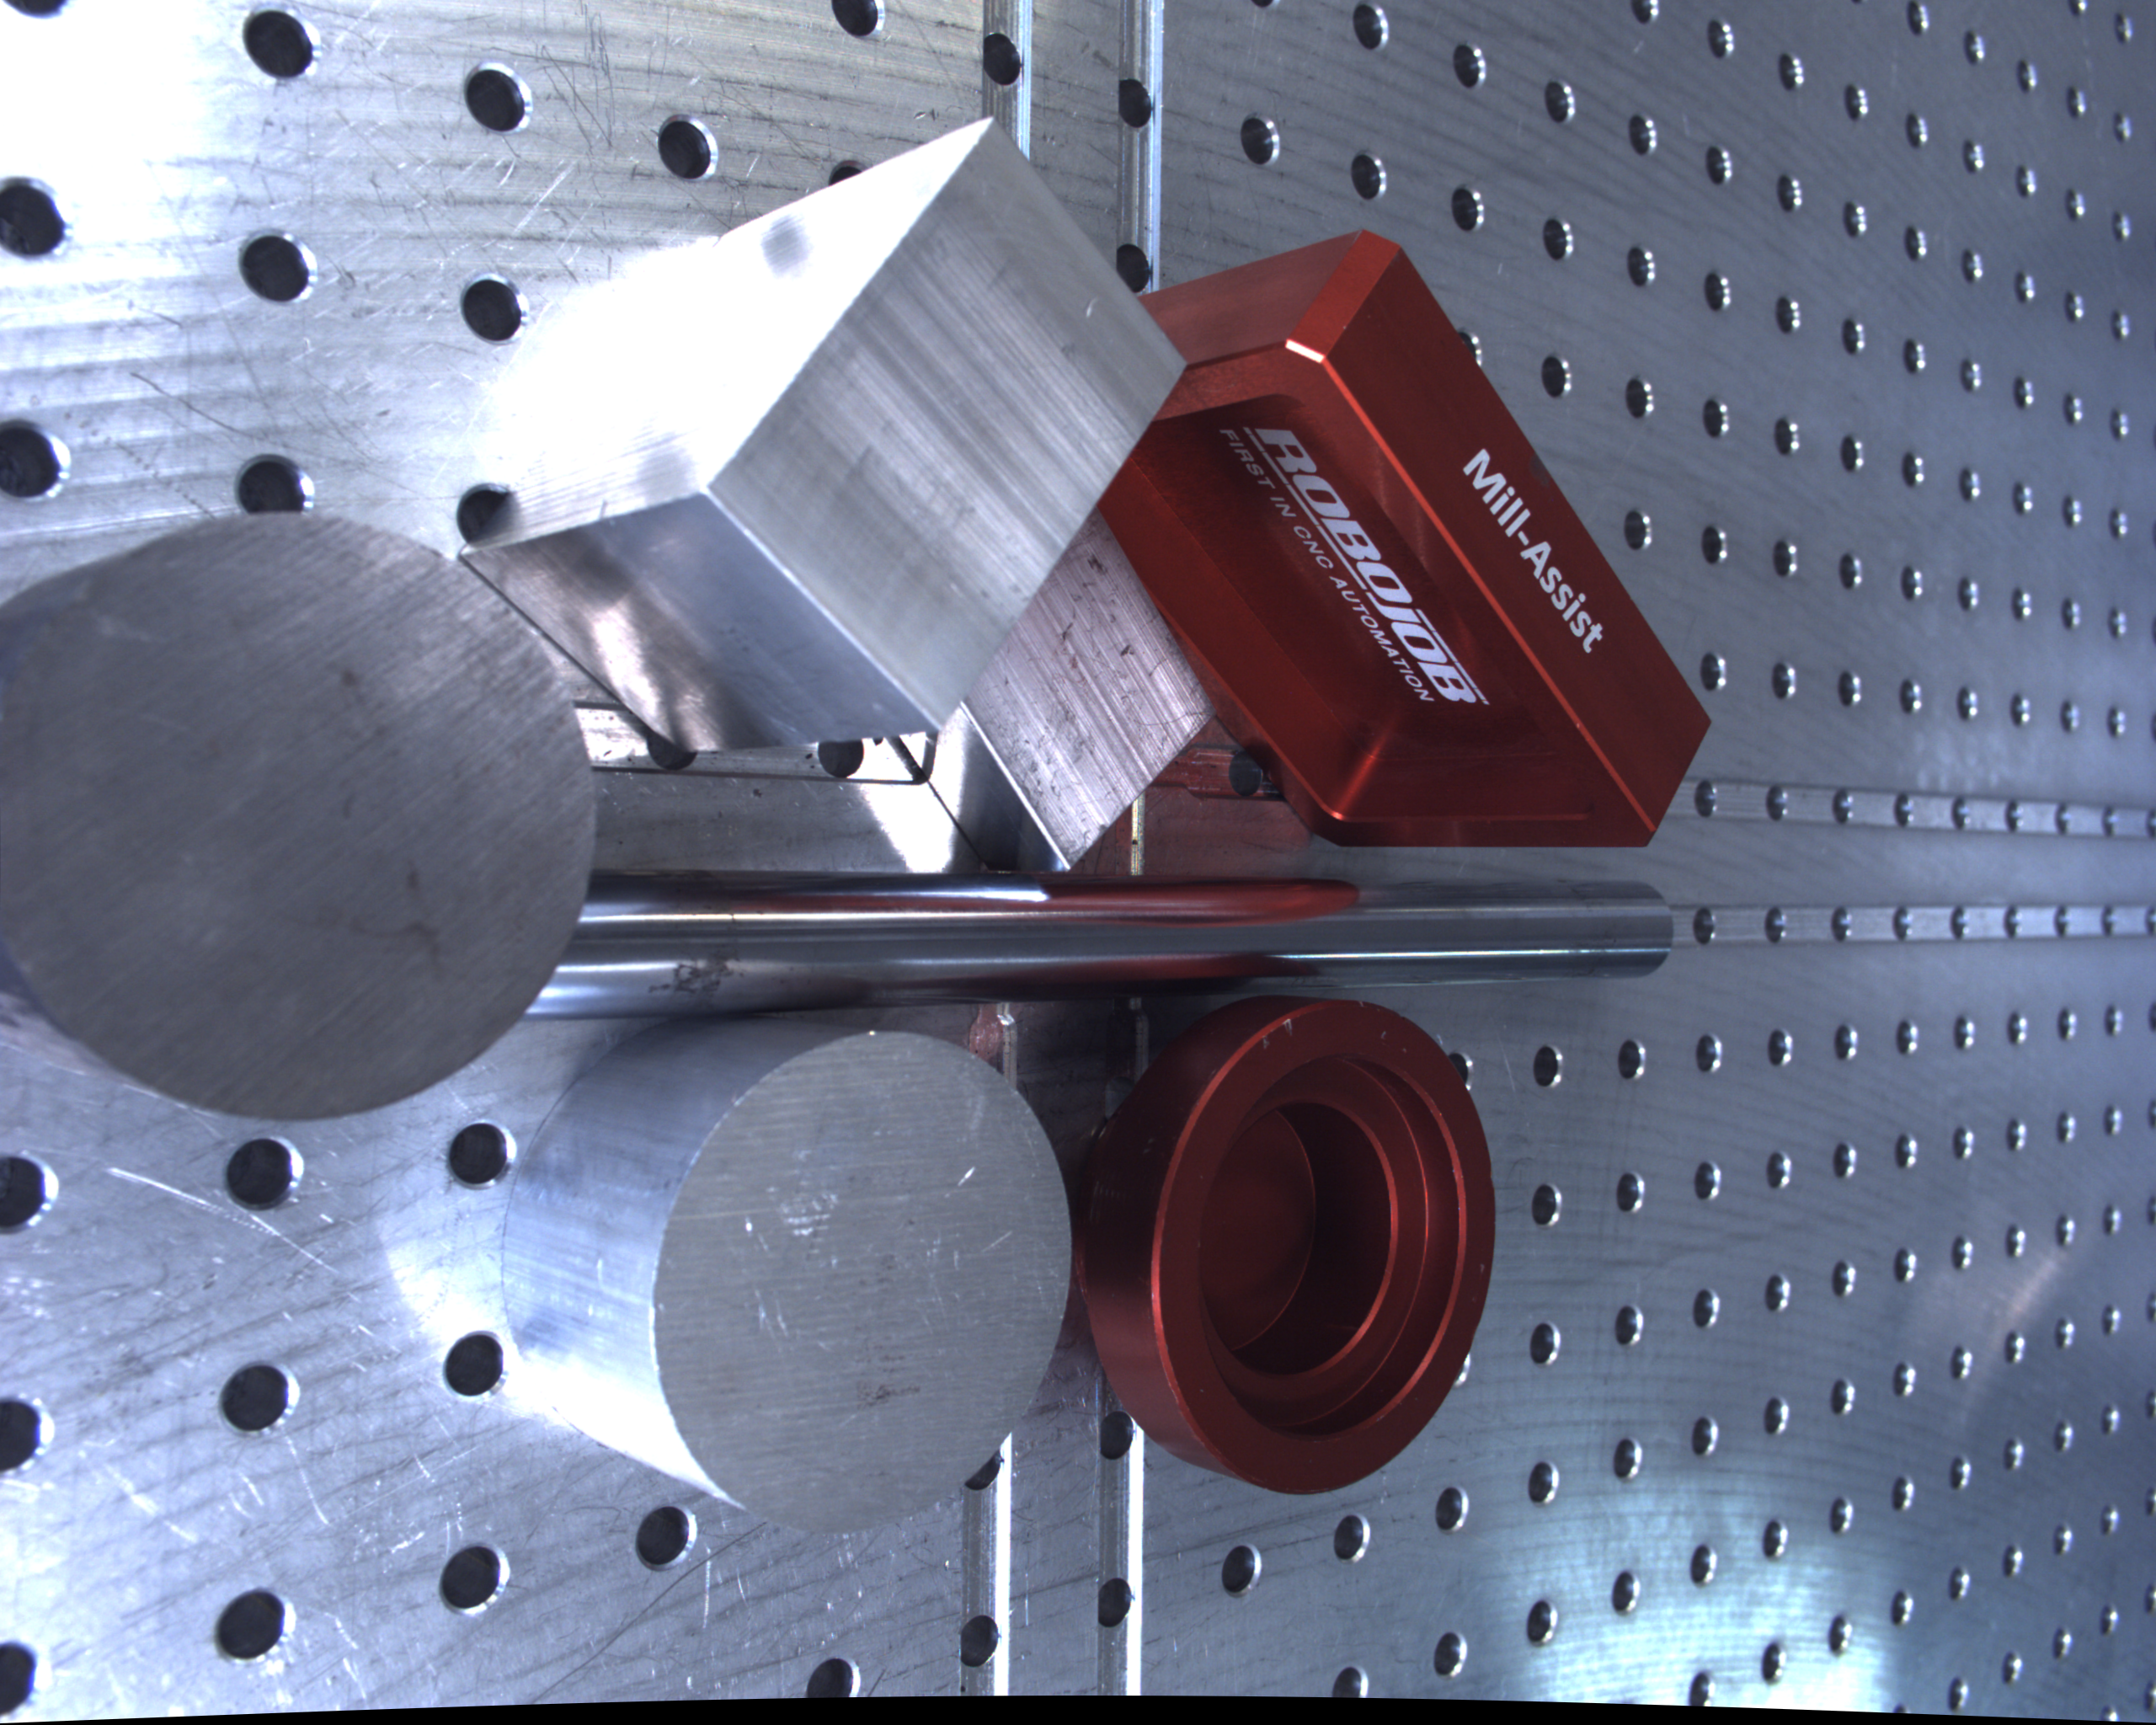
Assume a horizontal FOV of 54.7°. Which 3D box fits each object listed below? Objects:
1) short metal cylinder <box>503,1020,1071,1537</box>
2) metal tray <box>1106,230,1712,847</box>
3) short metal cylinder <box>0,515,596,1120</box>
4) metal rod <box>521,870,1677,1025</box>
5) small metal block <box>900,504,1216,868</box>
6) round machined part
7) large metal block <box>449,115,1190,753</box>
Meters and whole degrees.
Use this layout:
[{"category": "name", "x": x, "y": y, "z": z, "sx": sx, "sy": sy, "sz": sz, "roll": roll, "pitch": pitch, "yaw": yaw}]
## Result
[{"category": "short metal cylinder", "x": -0.048, "y": 0.067, "z": 0.352, "sx": 0.081, "sy": 0.050, "sz": 0.080, "roll": 0, "pitch": 90, "yaw": -40}, {"category": "metal tray", "x": 0.054, "y": -0.056, "z": 0.411, "sx": 0.130, "sy": 0.090, "sz": 0.030, "roll": 47, "pitch": 62, "yaw": -30}, {"category": "short metal cylinder", "x": -0.117, "y": -0.006, "z": 0.294, "sx": 0.081, "sy": 0.050, "sz": 0.080, "roll": 0, "pitch": 90, "yaw": -40}, {"category": "metal rod", "x": 0.025, "y": 0.015, "z": 0.429, "sx": 0.302, "sy": 0.025, "sz": 0.025, "roll": 1, "pitch": 90, "yaw": -40}, {"category": "small metal block", "x": -0.008, "y": -0.034, "z": 0.403, "sx": 0.050, "sy": 0.025, "sz": 0.050, "roll": -47, "pitch": 118, "yaw": -30}, {"category": "round machined part", "x": 0.038, "y": 0.076, "z": 0.430, "sx": 0.099, "sy": 0.042, "sz": 0.097, "roll": 0, "pitch": 90, "yaw": -40}, {"category": "large metal block", "x": -0.042, "y": -0.065, "z": 0.338, "sx": 0.050, "sy": 0.080, "sz": 0.080, "roll": 47, "pitch": 62, "yaw": -31}]
